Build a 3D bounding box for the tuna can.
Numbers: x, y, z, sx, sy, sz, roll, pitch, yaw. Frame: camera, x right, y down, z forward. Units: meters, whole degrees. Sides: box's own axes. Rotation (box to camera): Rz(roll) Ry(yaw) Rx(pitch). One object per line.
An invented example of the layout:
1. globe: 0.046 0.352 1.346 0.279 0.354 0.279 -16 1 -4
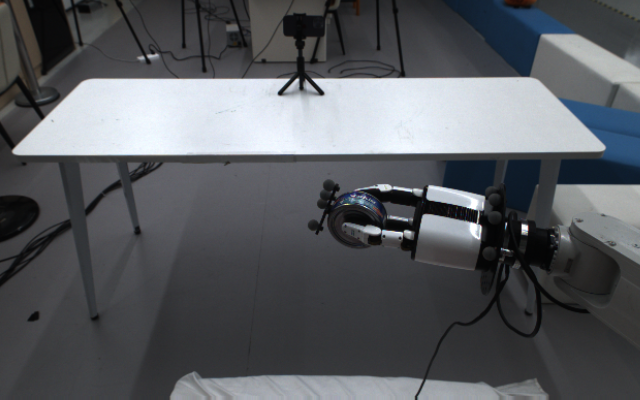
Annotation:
1. tuna can: 0.057 0.030 0.719 0.085 0.085 0.034 9 35 10
